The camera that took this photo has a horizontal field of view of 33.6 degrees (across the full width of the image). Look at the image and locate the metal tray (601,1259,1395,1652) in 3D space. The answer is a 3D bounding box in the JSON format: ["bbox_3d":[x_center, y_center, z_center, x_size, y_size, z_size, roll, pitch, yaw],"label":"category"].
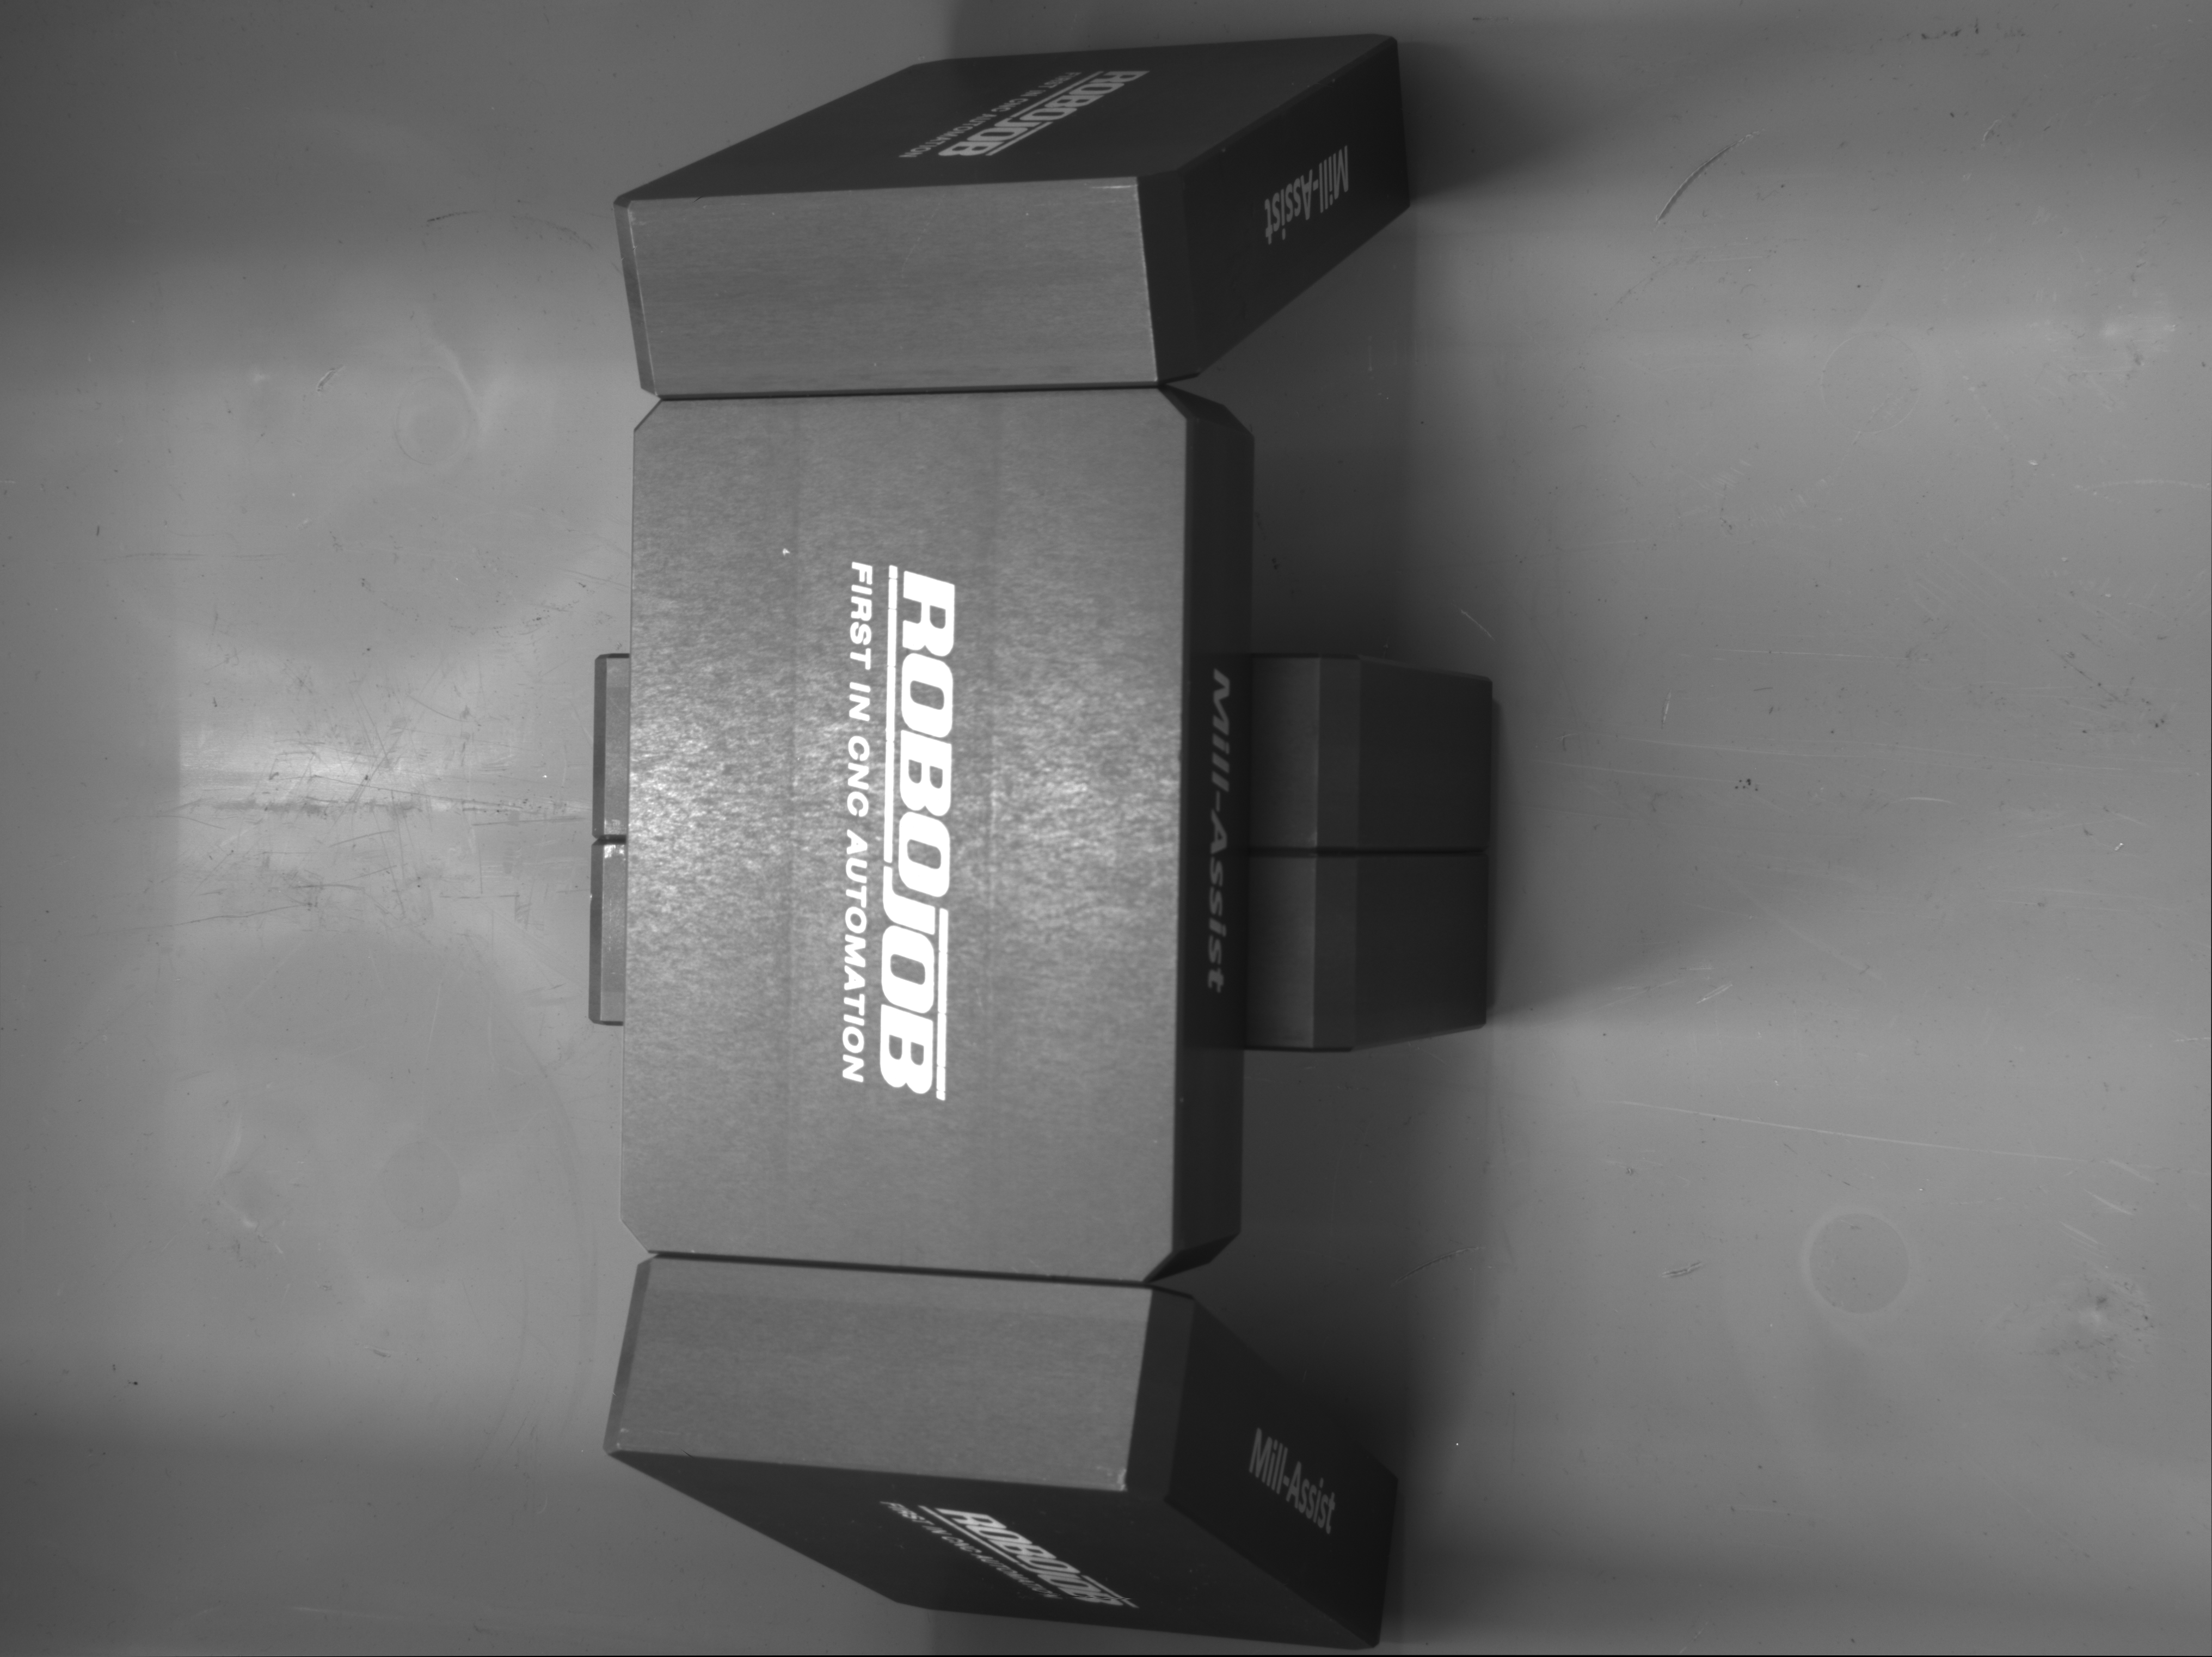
[{"bbox_3d":[-0.013,0.103,0.592,0.090,0.130,0.030,0,68,20],"label":"metal tray"}]

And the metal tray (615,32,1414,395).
[{"bbox_3d":[-0.010,-0.101,0.592,0.090,0.130,0.030,1,110,20],"label":"metal tray"}]

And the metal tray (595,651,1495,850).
[{"bbox_3d":[-0.008,-0.012,0.614,0.130,0.090,0.030,1,90,20],"label":"metal tray"}]

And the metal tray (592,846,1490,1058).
[{"bbox_3d":[-0.009,0.019,0.615,0.130,0.090,0.030,1,90,20],"label":"metal tray"}]

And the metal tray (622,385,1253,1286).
[{"bbox_3d":[-0.026,0.000,0.555,0.090,0.030,0.130,1,90,19],"label":"metal tray"}]
